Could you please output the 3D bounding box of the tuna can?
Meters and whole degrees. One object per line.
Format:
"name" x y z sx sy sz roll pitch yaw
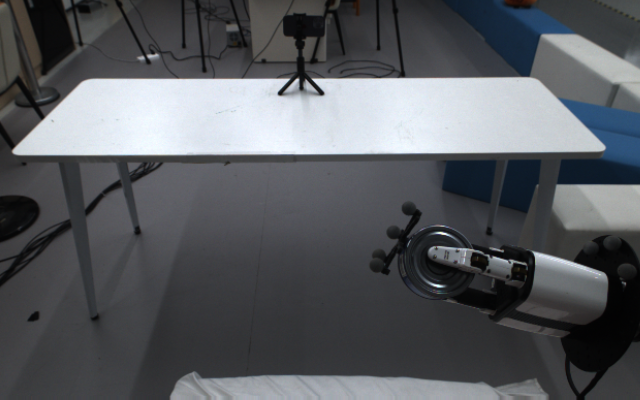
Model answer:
"tuna can" 0.139 0.070 0.565 0.085 0.034 0.085 1 75 -5
